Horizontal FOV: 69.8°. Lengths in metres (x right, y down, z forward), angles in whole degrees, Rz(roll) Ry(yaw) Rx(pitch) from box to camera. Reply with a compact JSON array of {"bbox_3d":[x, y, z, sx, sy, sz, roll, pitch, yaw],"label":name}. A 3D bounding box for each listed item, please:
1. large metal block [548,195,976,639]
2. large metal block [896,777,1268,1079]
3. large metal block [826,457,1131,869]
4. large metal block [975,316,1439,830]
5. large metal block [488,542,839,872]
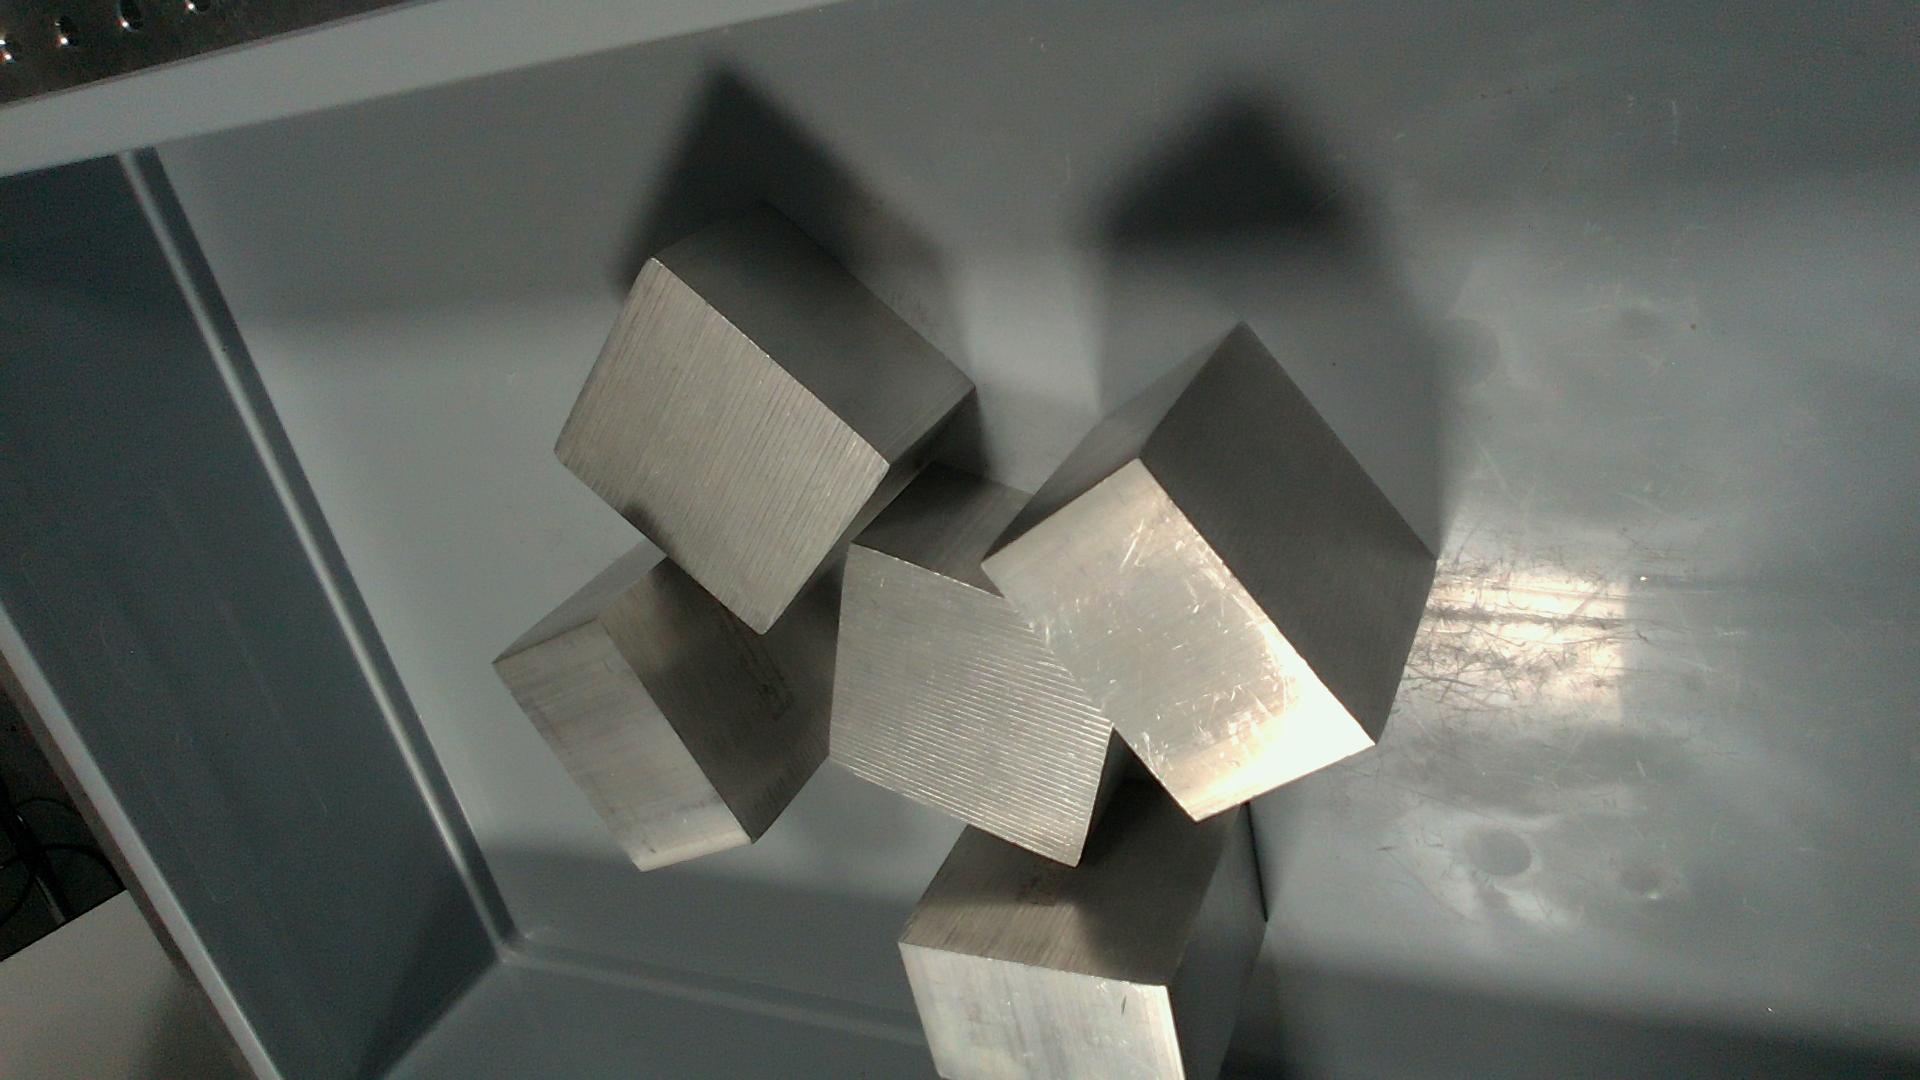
[{"bbox_3d":[-0.056,-0.033,0.385,0.080,0.050,0.080,41,129,0],"label":"large metal block"},{"bbox_3d":[0.040,0.115,0.407,0.080,0.080,0.050,1,119,28],"label":"large metal block"},{"bbox_3d":[0.012,0.034,0.390,0.080,0.050,0.080,20,126,16],"label":"large metal block"},{"bbox_3d":[0.062,0.006,0.326,0.080,0.080,0.050,49,129,-7],"label":"large metal block"},{"bbox_3d":[-0.081,0.042,0.426,0.050,0.080,0.080,-20,108,36],"label":"large metal block"}]
